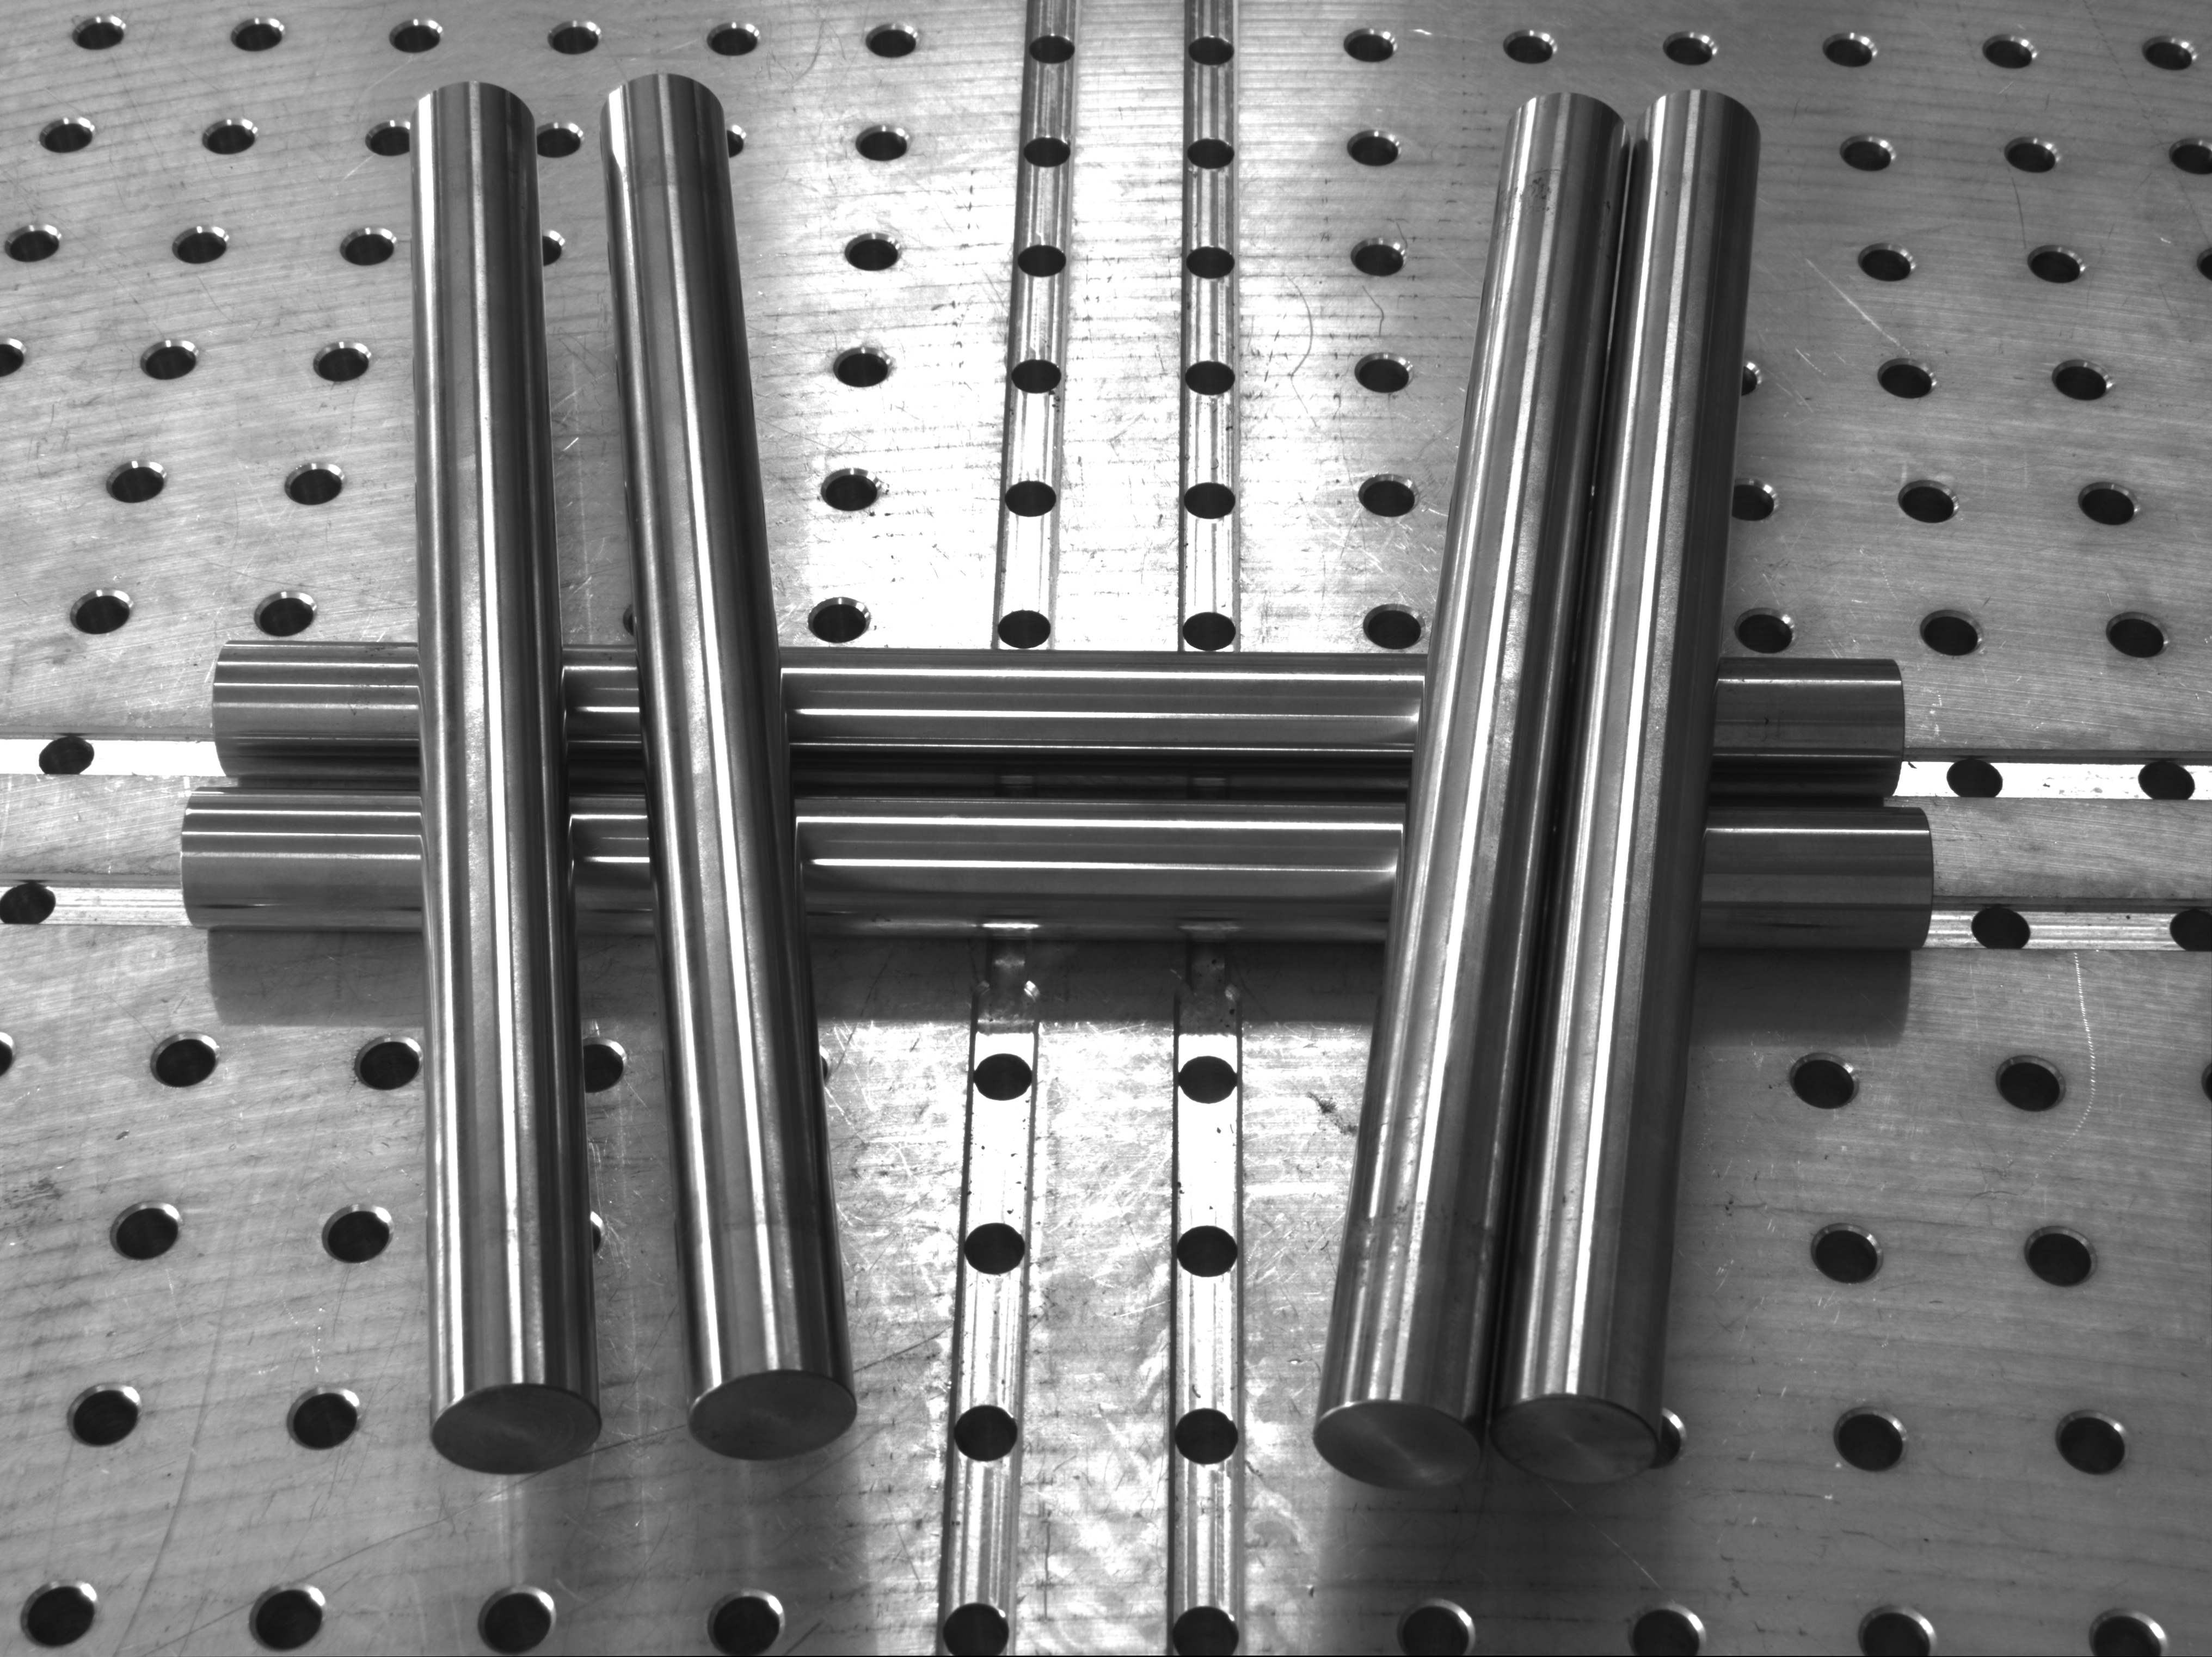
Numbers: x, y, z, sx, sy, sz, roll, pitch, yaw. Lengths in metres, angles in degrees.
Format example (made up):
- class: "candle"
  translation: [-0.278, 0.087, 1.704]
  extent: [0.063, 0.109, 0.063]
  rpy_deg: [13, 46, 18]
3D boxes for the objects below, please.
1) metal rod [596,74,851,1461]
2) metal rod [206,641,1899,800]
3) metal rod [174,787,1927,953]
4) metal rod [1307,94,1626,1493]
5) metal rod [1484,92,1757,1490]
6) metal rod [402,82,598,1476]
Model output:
- class: "metal rod"
  translation: [-0.070, -0.027, 0.637]
  extent: [0.025, 0.025, 0.300]
  rpy_deg: [-6, 50, -5]
- class: "metal rod"
  translation: [-0.010, -0.020, 0.663]
  extent: [0.300, 0.025, 0.025]
  rpy_deg: [1, 50, 1]
- class: "metal rod"
  translation: [-0.010, 0.007, 0.640]
  extent: [0.300, 0.025, 0.025]
  rpy_deg: [1, 50, 1]
- class: "metal rod"
  translation: [0.066, -0.022, 0.633]
  extent: [0.025, 0.025, 0.300]
  rpy_deg: [7, 50, 6]
- class: "metal rod"
  translation: [0.092, -0.023, 0.633]
  extent: [0.025, 0.025, 0.300]
  rpy_deg: [7, 50, 6]
- class: "metal rod"
  translation: [-0.107, -0.025, 0.635]
  extent: [0.025, 0.025, 0.300]
  rpy_deg: [-6, 50, -5]
